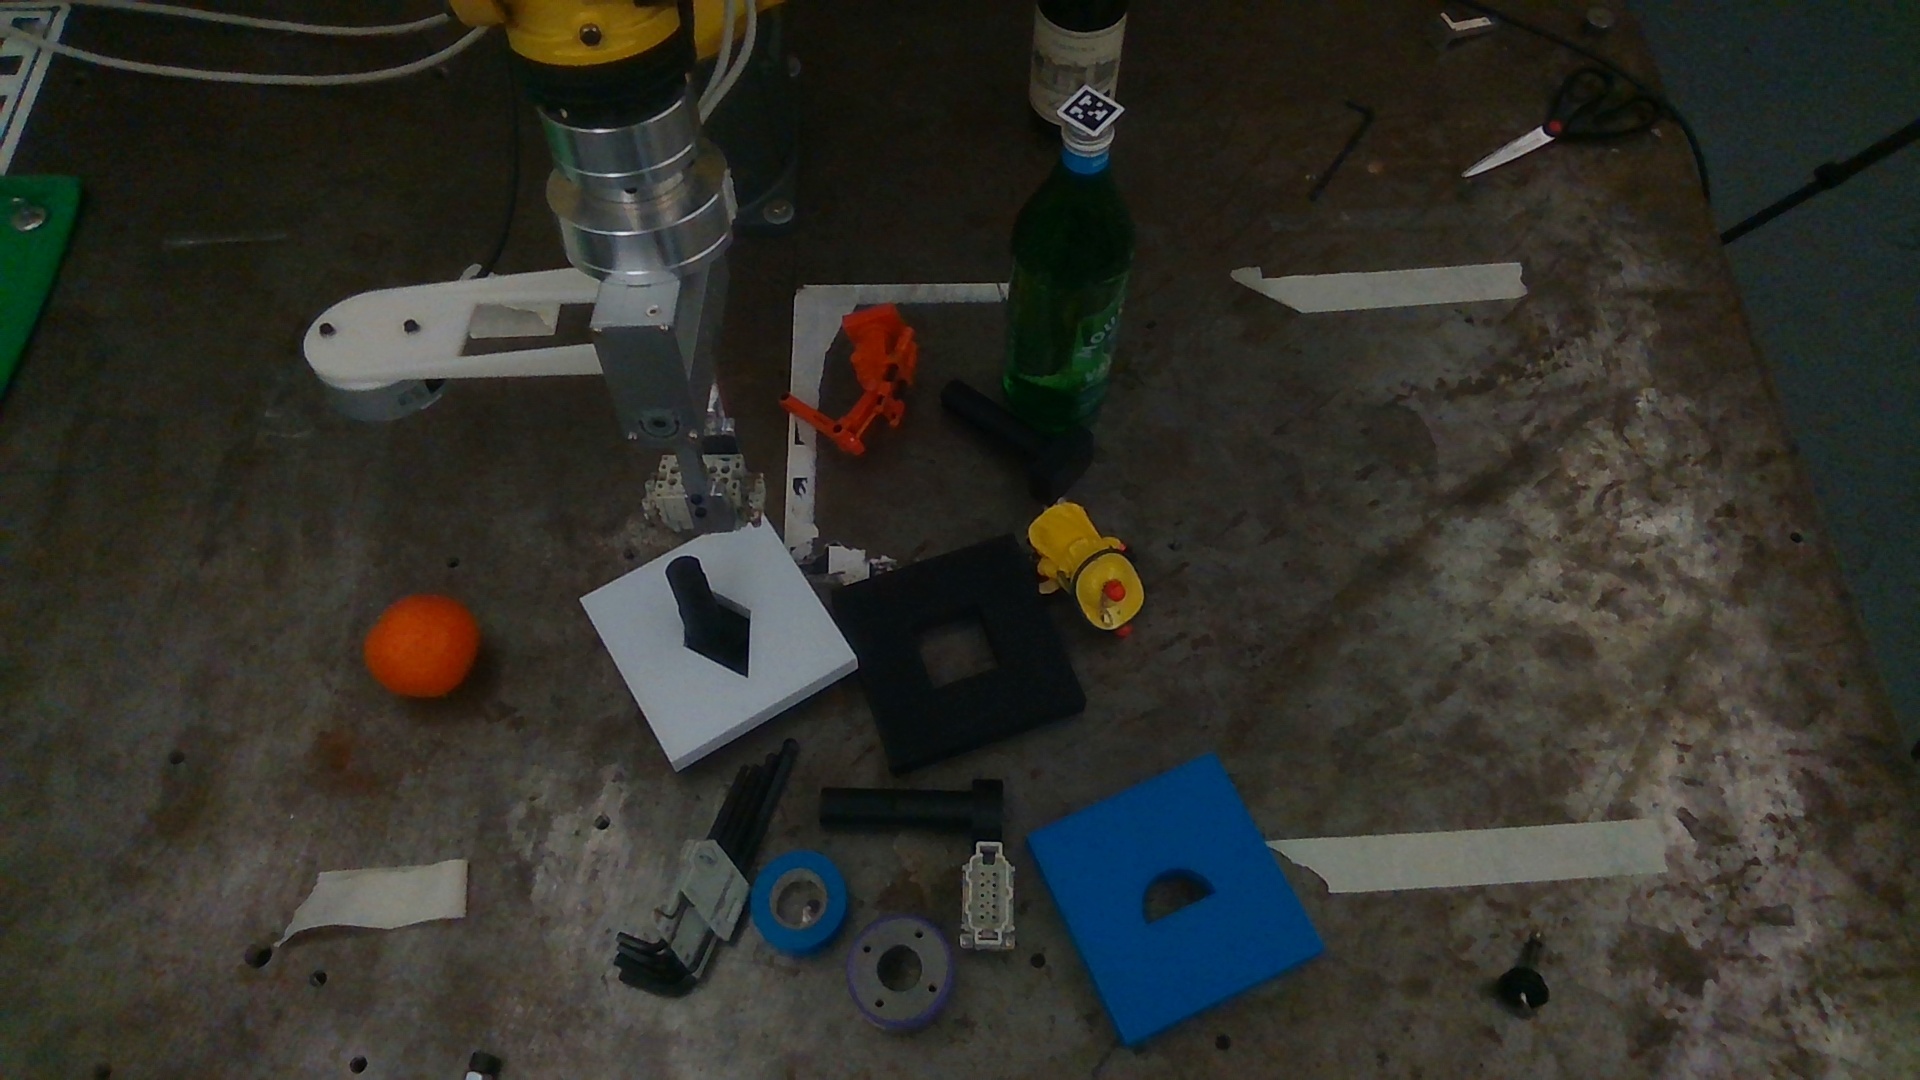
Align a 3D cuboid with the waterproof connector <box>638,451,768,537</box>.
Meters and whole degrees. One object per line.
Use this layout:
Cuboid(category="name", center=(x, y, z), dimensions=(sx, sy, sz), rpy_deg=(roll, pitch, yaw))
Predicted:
Cuboid(category="waterproof connector", center=(-0.141, -0.024, 0.762), dimensions=(0.069, 0.038, 0.037), rpy_deg=(1, 46, -5))
